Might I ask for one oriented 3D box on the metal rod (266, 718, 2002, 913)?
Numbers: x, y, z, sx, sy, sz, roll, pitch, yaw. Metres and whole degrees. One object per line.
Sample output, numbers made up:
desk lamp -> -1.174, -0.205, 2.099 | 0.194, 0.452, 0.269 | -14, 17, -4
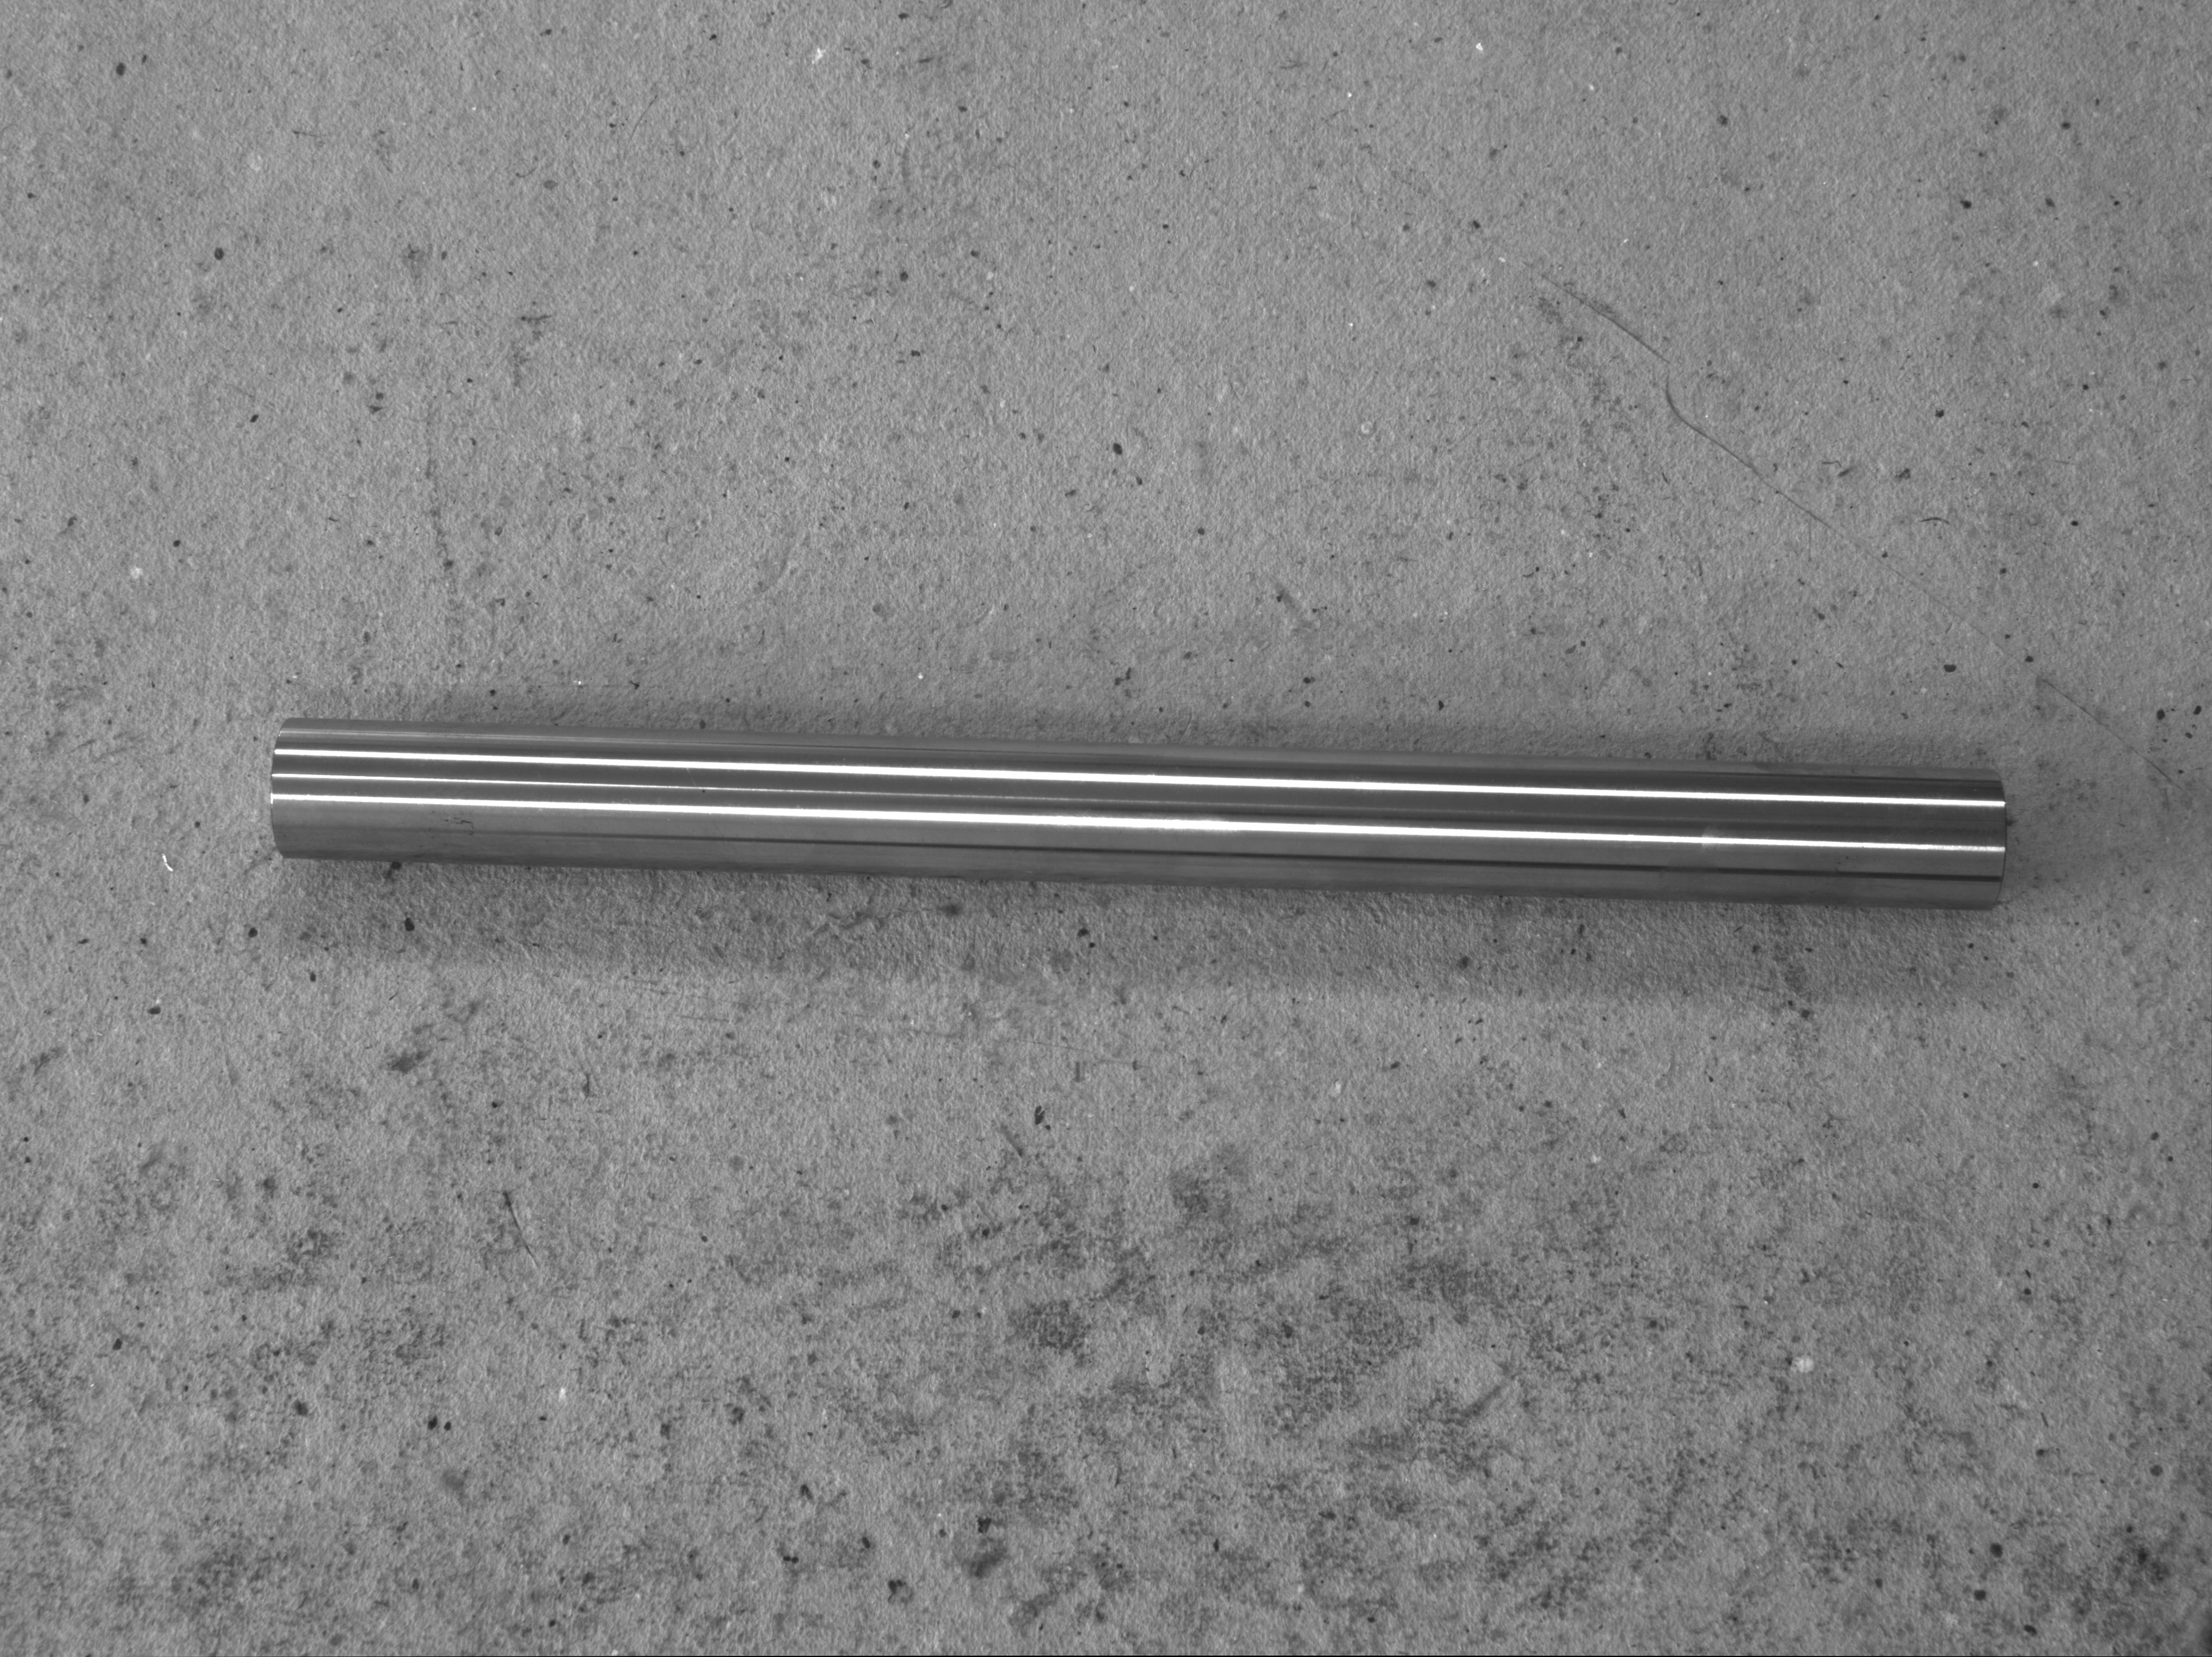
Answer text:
metal rod -> 0.005, -0.002, 0.646 | 0.300, 0.025, 0.025 | 2, 70, 1
